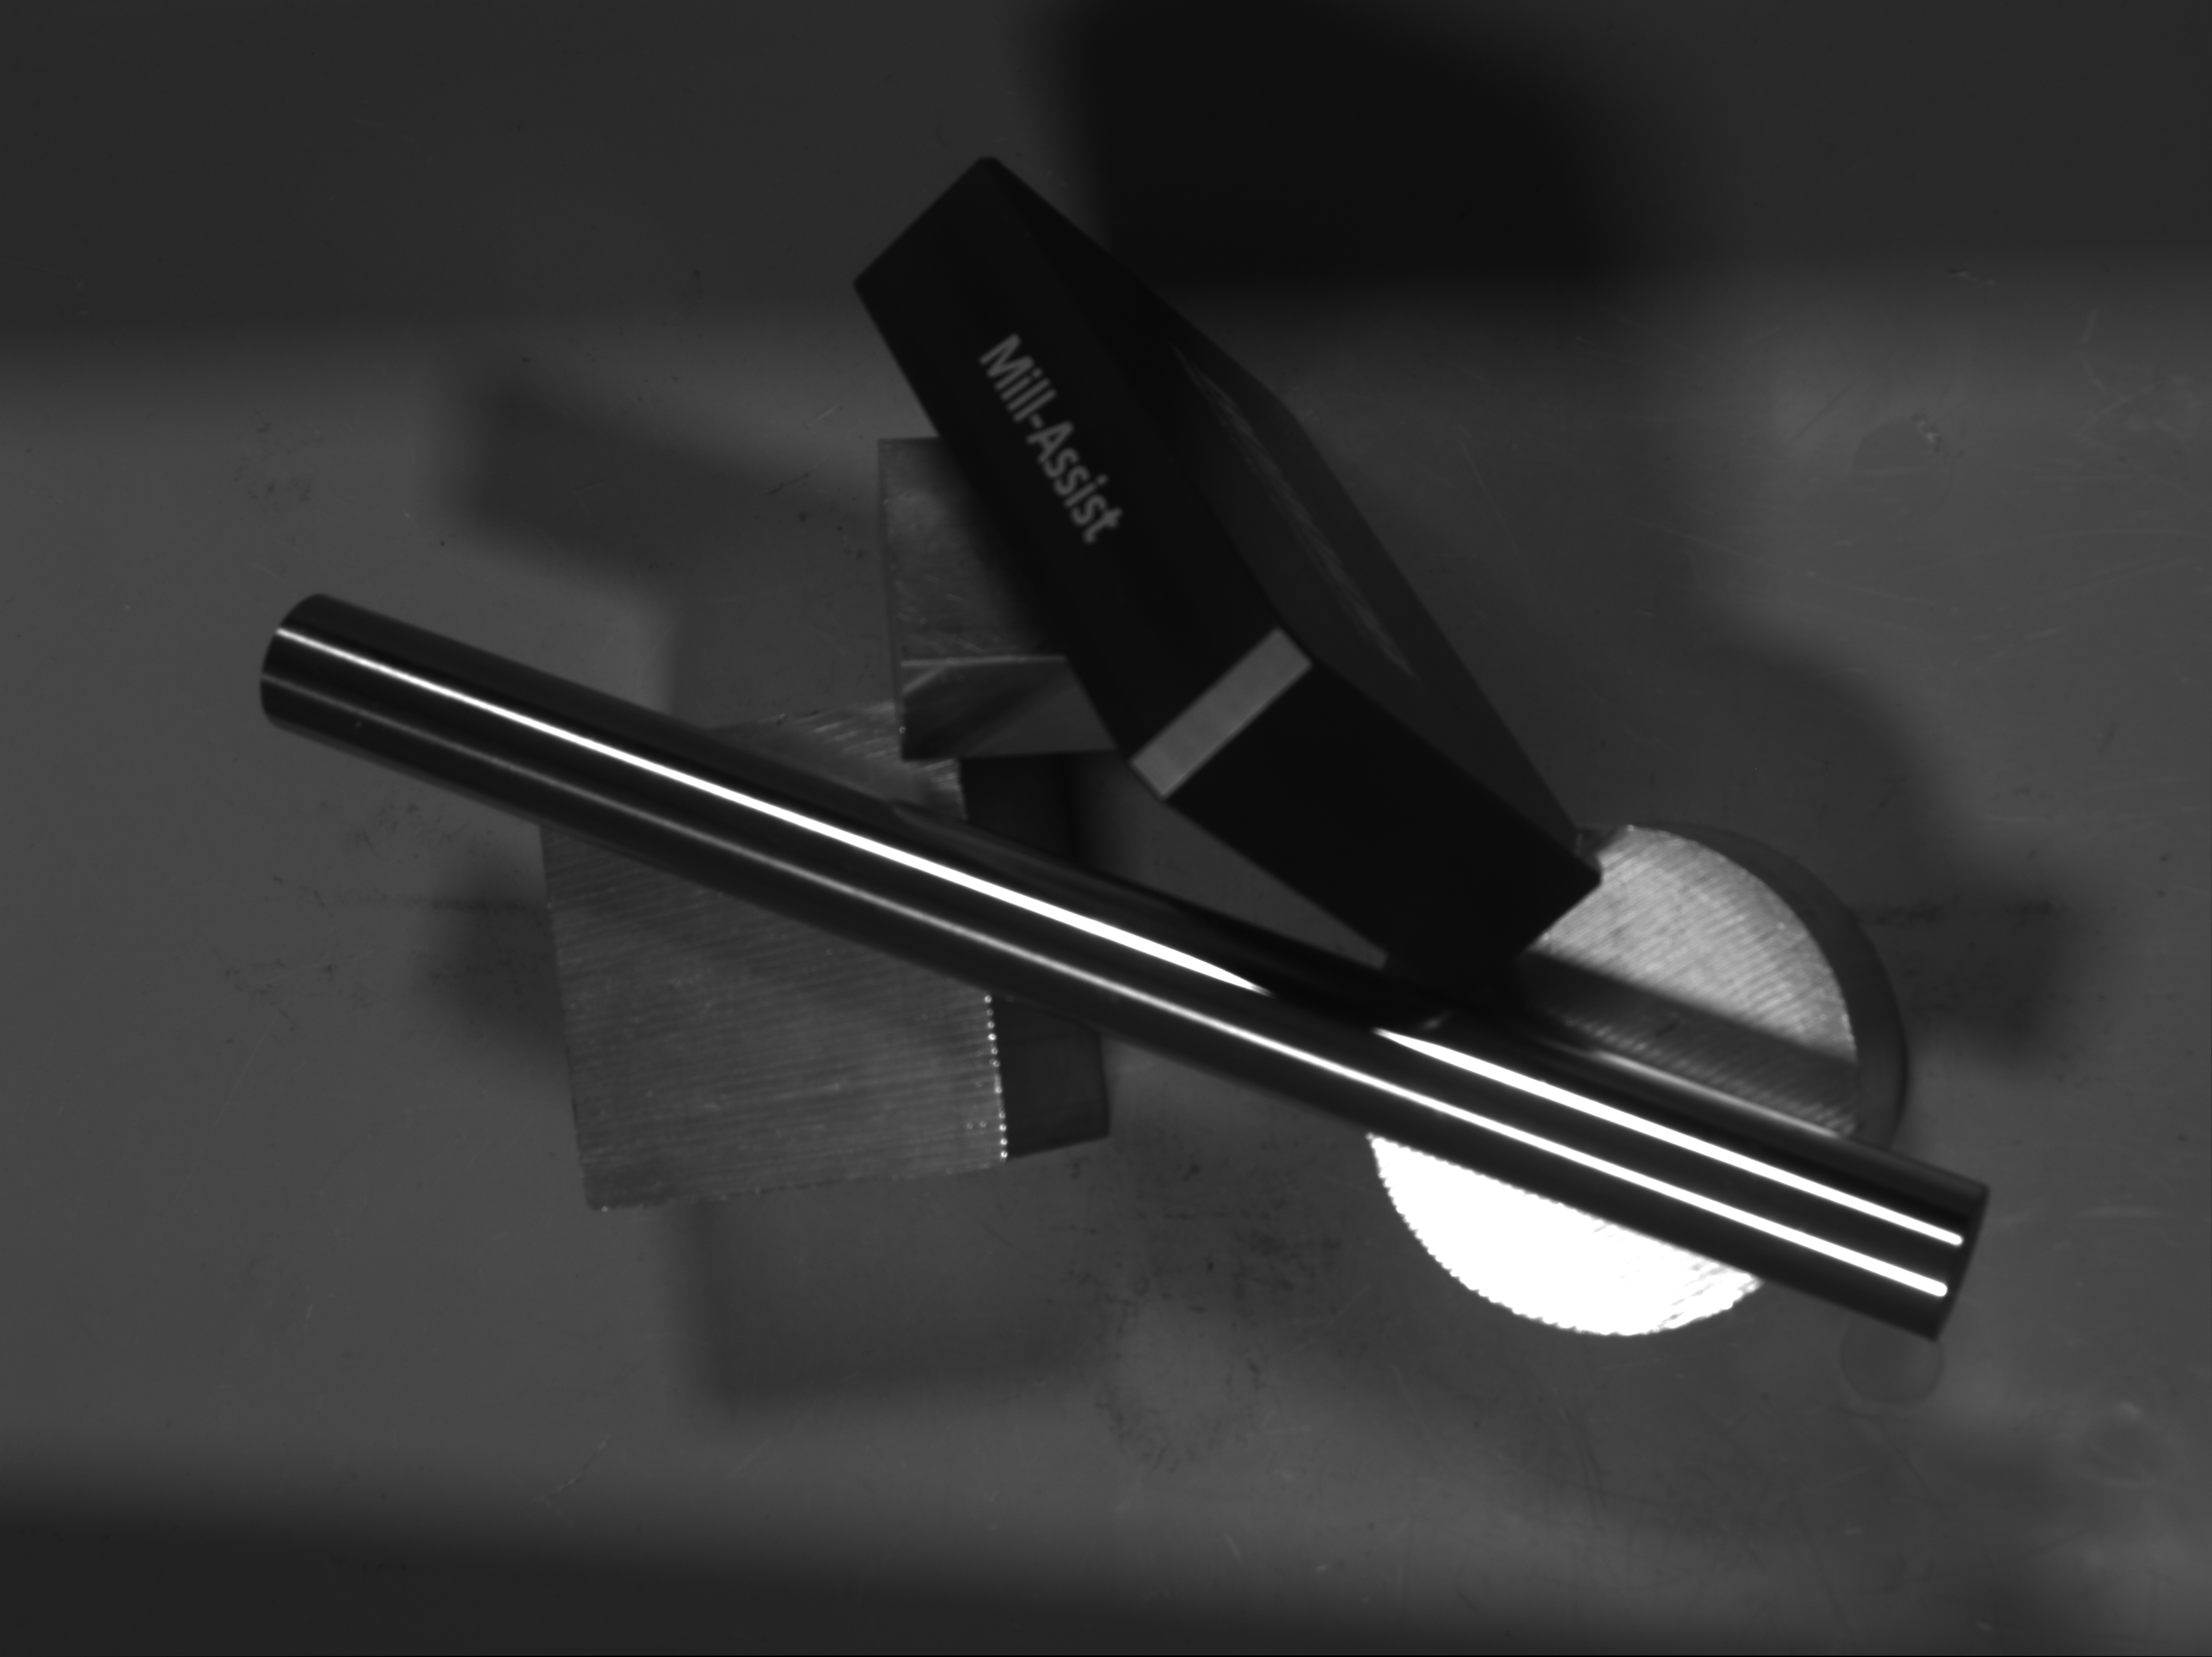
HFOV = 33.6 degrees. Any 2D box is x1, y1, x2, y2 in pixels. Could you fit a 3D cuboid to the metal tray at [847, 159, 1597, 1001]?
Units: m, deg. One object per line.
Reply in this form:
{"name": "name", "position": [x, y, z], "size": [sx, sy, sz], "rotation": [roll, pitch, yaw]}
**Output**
{"name": "metal tray", "position": [0.017, -0.040, 0.576], "size": [0.030, 0.090, 0.130], "rotation": [-42, 47, 14]}

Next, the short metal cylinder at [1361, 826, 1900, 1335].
{"name": "short metal cylinder", "position": [0.086, 0.040, 0.599], "size": [0.080, 0.050, 0.080], "rotation": [0, 90, 20]}

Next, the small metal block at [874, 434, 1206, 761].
{"name": "small metal block", "position": [-0.012, -0.040, 0.612], "size": [0.050, 0.025, 0.050], "rotation": [-3, 53, -7]}

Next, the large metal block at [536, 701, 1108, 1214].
{"name": "large metal block", "position": [-0.050, 0.022, 0.648], "size": [0.080, 0.050, 0.080], "rotation": [-8, 87, 19]}

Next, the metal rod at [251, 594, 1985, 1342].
{"name": "metal rod", "position": [-0.008, 0.018, 0.592], "size": [0.299, 0.025, 0.025], "rotation": [19, 96, 19]}
